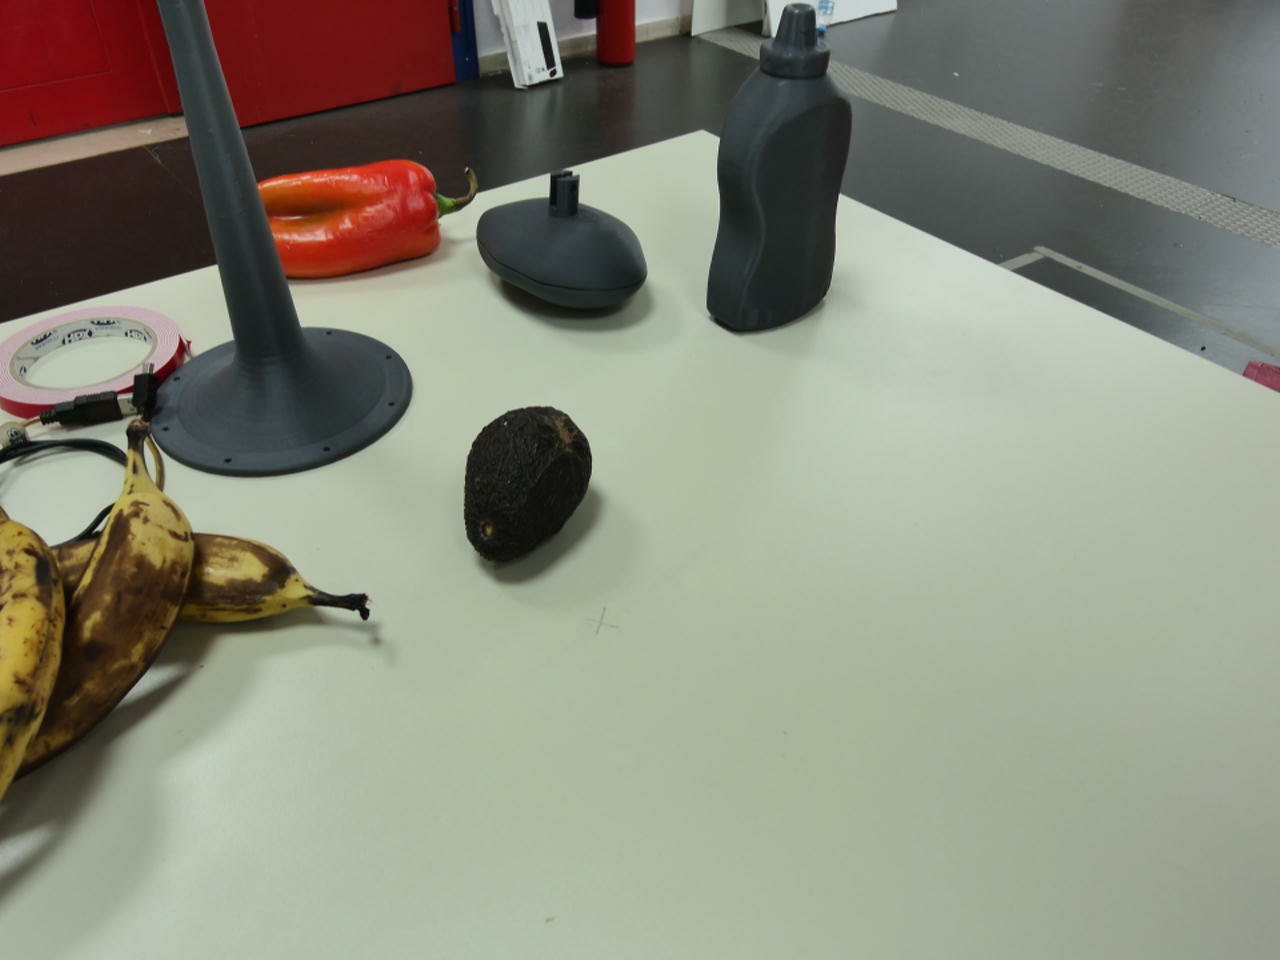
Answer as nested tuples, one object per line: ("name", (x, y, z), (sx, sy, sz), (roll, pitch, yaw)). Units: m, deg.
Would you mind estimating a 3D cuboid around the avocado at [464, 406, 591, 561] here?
("avocado", (-0.061, -0.001, 0.510), (0.062, 0.062, 0.092), (19, 42, 22))
